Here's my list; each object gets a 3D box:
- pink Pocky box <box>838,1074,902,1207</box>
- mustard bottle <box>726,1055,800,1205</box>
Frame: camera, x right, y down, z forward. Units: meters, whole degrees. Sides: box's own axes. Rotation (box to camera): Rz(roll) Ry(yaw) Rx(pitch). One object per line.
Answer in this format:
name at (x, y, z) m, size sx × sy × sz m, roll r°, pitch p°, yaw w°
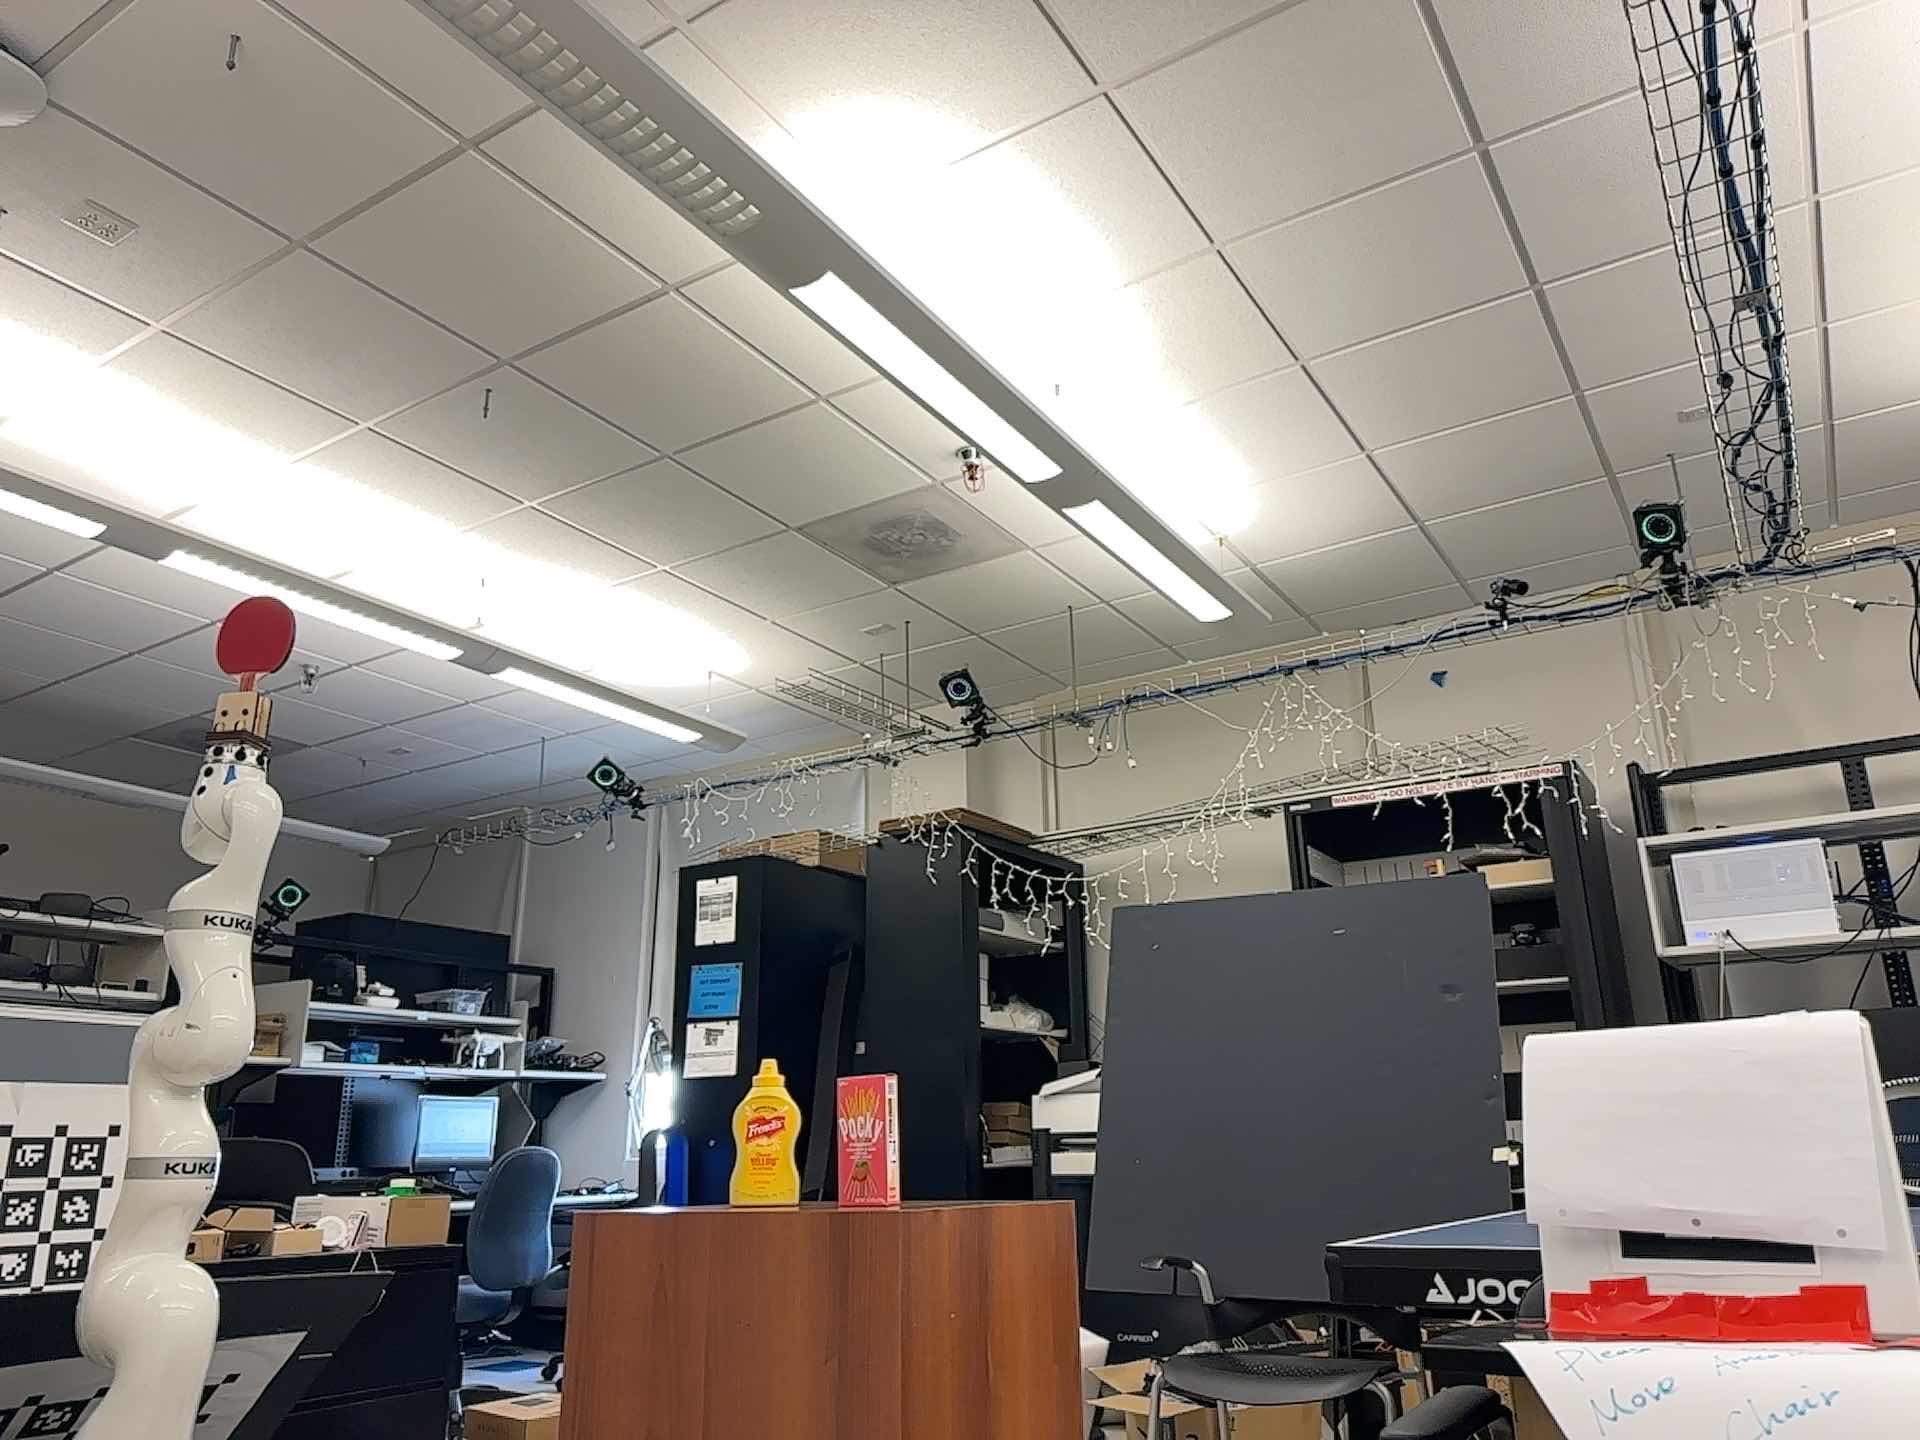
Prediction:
pink Pocky box at (-0.113, 0.520, 1.670) m, size 0.084 × 0.154 × 0.029 m, roll -15°, pitch -23°, yaw 37°
mustard bottle at (-0.253, 0.527, 1.740) m, size 0.092 × 0.184 × 0.054 m, roll -2°, pitch -18°, yaw 5°
